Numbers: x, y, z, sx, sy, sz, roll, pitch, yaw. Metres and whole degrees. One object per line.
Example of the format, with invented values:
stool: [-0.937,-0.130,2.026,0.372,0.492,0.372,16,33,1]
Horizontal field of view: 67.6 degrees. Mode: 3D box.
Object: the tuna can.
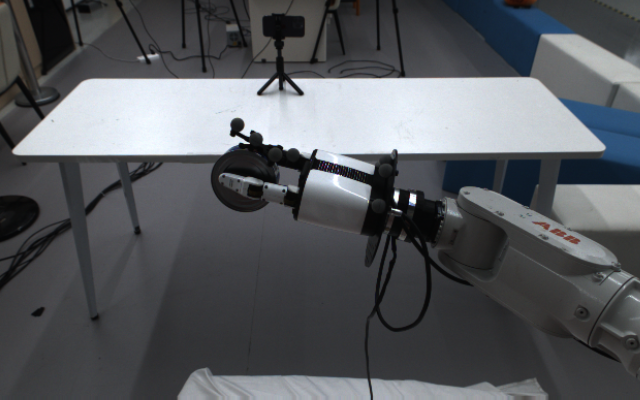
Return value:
tuna can: [-0.097,-0.029,0.638,0.085,0.085,0.034,4,20,3]
